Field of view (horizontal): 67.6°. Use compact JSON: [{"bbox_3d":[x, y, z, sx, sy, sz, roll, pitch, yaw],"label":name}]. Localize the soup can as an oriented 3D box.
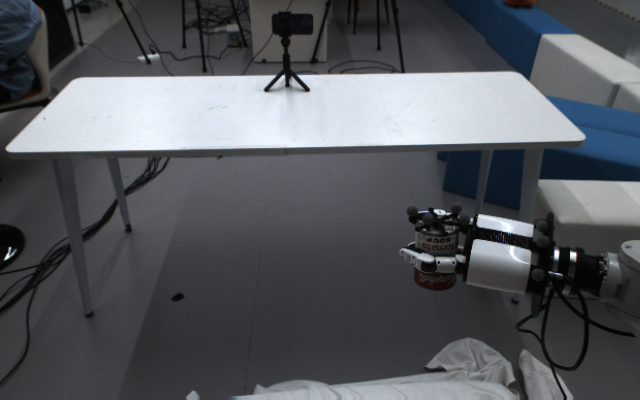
[{"bbox_3d":[0.185,0.081,0.765,0.067,0.101,0.067,-4,26,2],"label":"soup can"}]
